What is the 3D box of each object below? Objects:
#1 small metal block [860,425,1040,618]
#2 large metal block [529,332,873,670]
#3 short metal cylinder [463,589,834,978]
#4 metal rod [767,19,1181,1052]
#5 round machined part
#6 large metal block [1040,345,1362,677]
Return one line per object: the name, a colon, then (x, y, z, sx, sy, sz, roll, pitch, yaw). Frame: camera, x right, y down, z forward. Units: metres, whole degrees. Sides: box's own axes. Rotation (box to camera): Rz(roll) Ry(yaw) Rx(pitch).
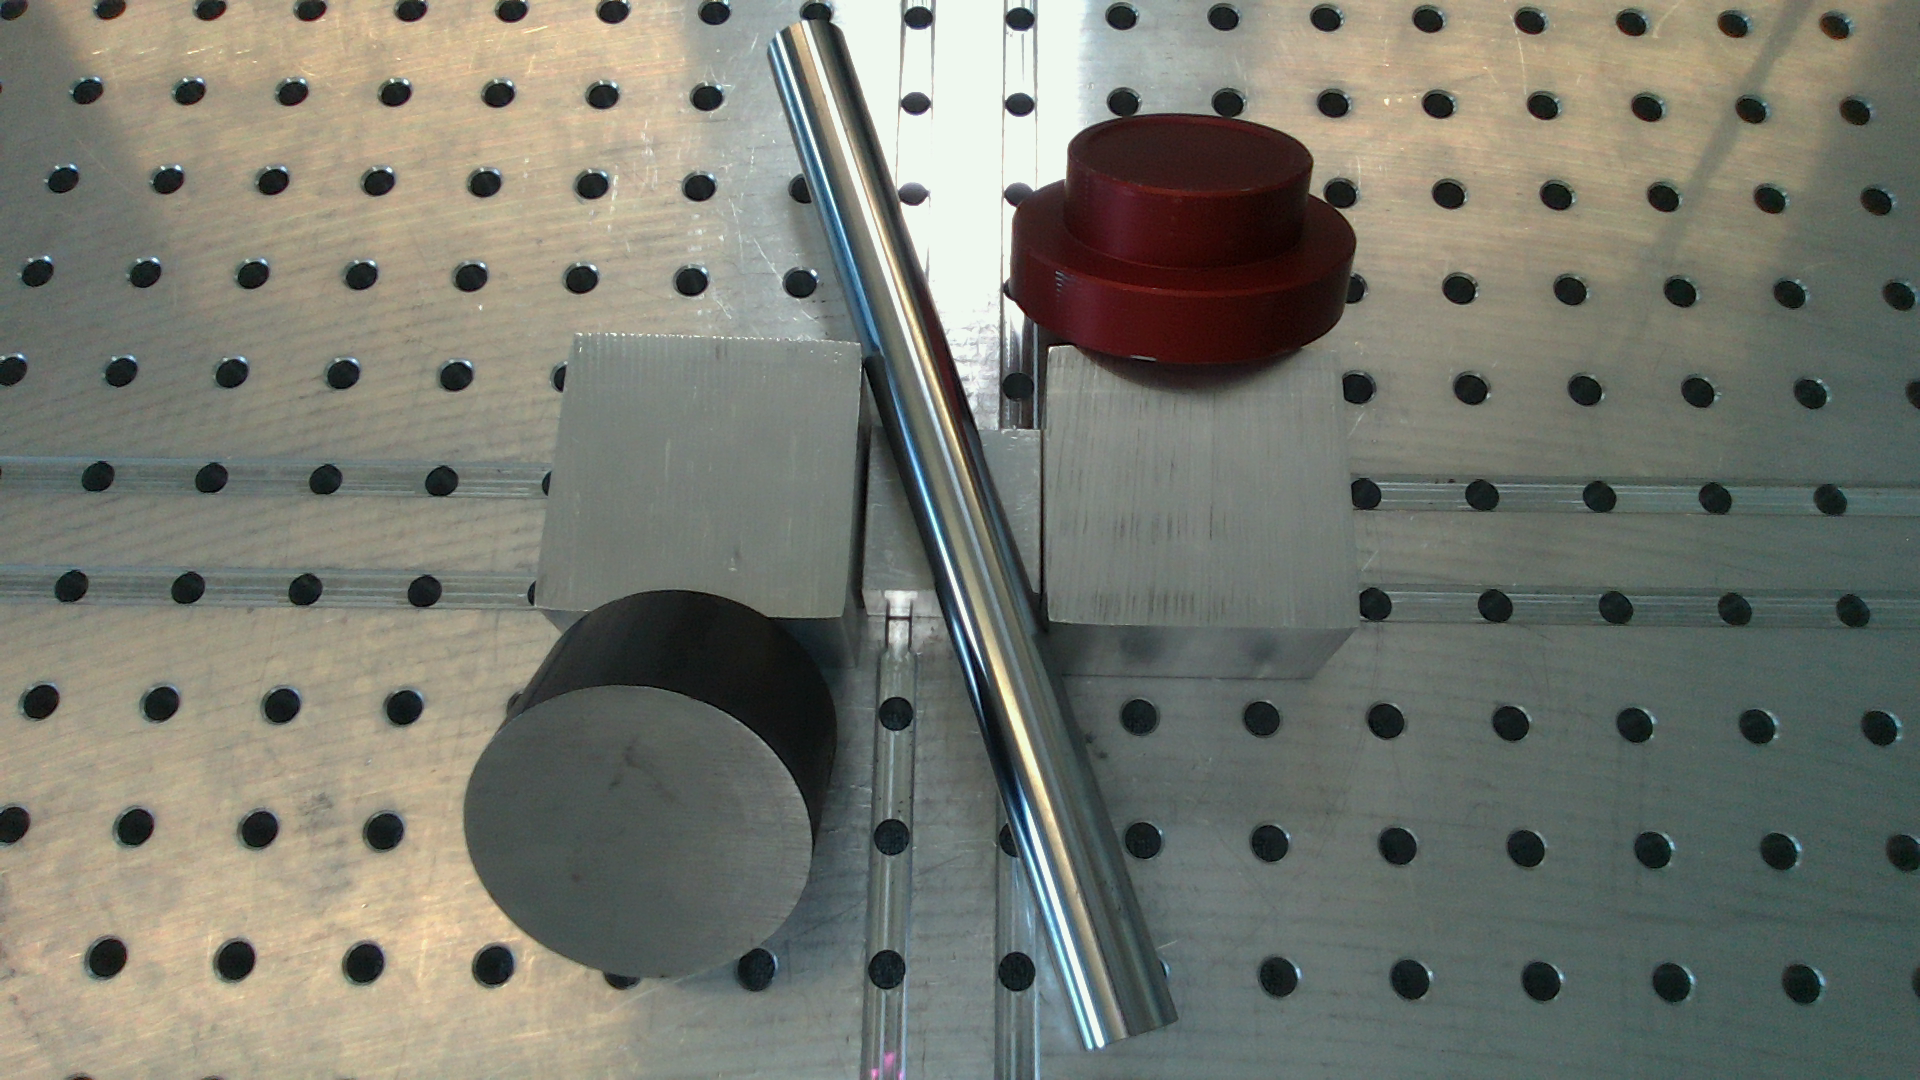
small metal block: (-0.002, -0.005, 0.399, 0.050, 0.025, 0.050, 1, 70, 0)
large metal block: (-0.068, -0.010, 0.388, 0.080, 0.050, 0.080, 2, 70, 1)
short metal cylinder: (-0.073, 0.059, 0.339, 0.080, 0.050, 0.080, 0, 113, 1)
metal rod: (-0.003, -0.017, 0.375, 0.025, 0.025, 0.300, -16, 71, -6)
round machined part: (0.064, -0.091, 0.395, 0.098, 0.042, 0.098, 1, 35, 0)
large metal block: (0.063, -0.007, 0.387, 0.080, 0.050, 0.080, 1, 70, 0)
